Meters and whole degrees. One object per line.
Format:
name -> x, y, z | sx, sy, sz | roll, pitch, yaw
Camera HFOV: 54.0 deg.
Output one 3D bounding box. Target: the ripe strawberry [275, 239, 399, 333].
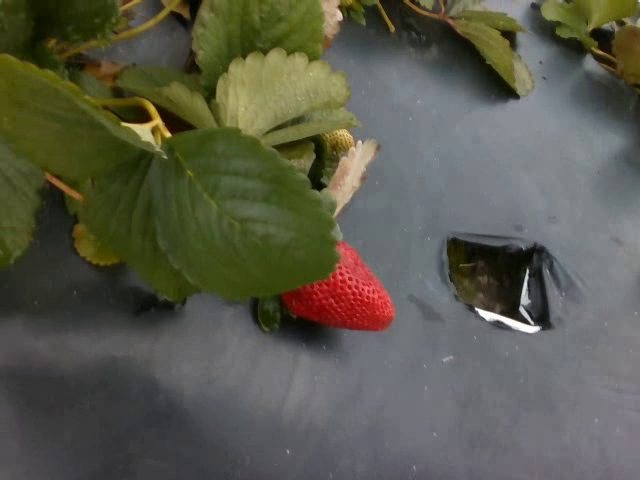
ripe strawberry -> 0.008, 0.026, 0.300 | 0.064, 0.046, 0.048 | 34, 19, 14
